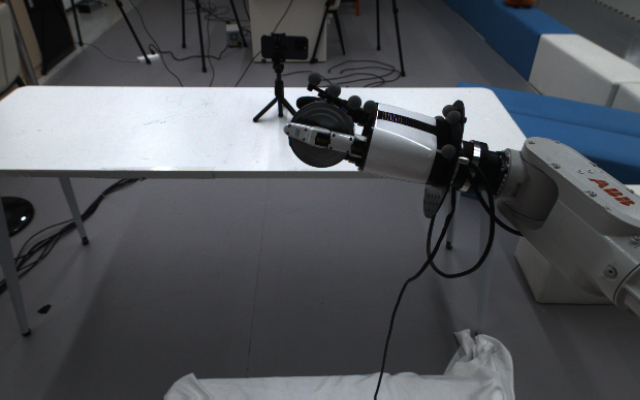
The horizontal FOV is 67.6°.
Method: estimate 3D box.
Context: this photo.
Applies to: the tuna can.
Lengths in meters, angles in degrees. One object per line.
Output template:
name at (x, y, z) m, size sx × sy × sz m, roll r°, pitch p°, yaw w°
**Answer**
tuna can at (0.004, -0.088, 0.639) m, size 0.085 × 0.085 × 0.034 m, roll 7°, pitch 17°, yaw 7°
